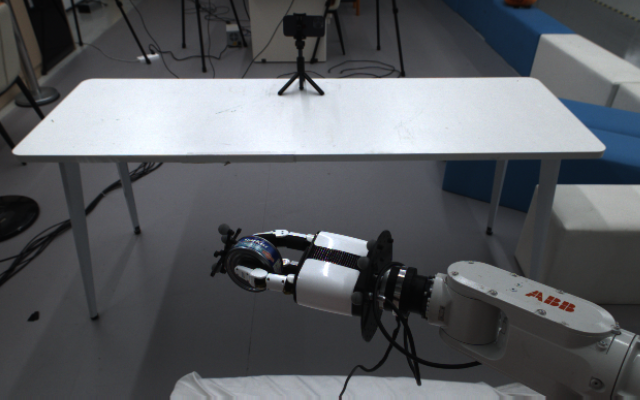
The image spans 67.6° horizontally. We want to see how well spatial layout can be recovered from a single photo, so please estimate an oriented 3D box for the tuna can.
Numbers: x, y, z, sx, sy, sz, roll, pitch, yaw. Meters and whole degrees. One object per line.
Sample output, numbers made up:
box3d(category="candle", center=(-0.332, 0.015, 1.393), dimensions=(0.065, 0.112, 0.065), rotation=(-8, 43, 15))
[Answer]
box3d(category="tuna can", center=(-0.100, 0.101, 0.737), dimensions=(0.085, 0.085, 0.034), rotation=(12, 30, 15))
